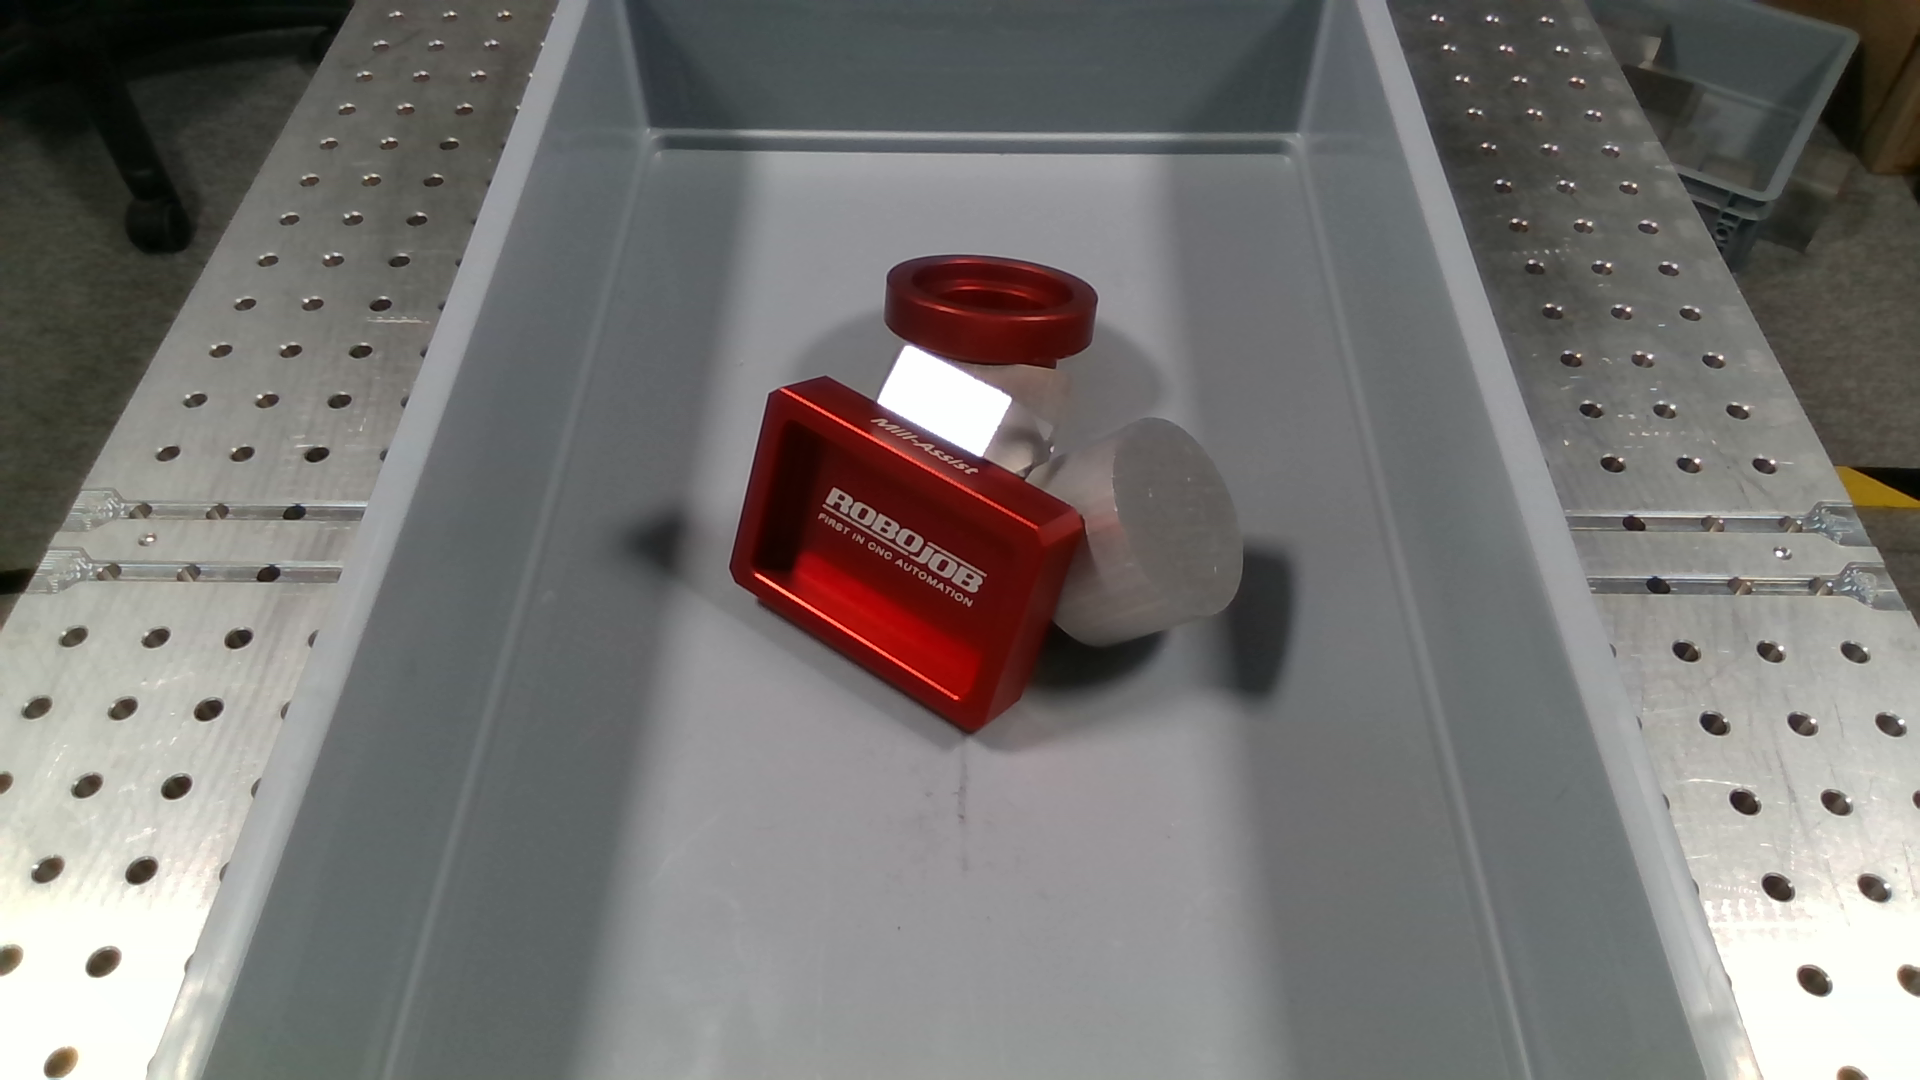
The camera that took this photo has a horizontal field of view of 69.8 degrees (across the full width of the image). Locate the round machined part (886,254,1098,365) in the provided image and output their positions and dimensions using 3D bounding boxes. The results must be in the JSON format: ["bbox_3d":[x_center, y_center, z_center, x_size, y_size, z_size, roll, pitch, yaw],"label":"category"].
[{"bbox_3d":[0.013,-0.099,0.642,0.098,0.042,0.098,5,27,-2],"label":"round machined part"}]

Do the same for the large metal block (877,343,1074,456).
[{"bbox_3d":[0.001,-0.034,0.598,0.080,0.050,0.080,11,51,9],"label":"large metal block"}]

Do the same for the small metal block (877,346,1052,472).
[{"bbox_3d":[0.003,-0.049,0.543,0.050,0.050,0.025,30,94,23],"label":"small metal block"}]

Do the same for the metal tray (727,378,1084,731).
[{"bbox_3d":[-0.025,0.003,0.539,0.130,0.090,0.030,29,29,22],"label":"metal tray"}]

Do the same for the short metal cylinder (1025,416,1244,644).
[{"bbox_3d":[0.068,-0.002,0.543,0.050,0.080,0.080,-23,35,41],"label":"short metal cylinder"}]
